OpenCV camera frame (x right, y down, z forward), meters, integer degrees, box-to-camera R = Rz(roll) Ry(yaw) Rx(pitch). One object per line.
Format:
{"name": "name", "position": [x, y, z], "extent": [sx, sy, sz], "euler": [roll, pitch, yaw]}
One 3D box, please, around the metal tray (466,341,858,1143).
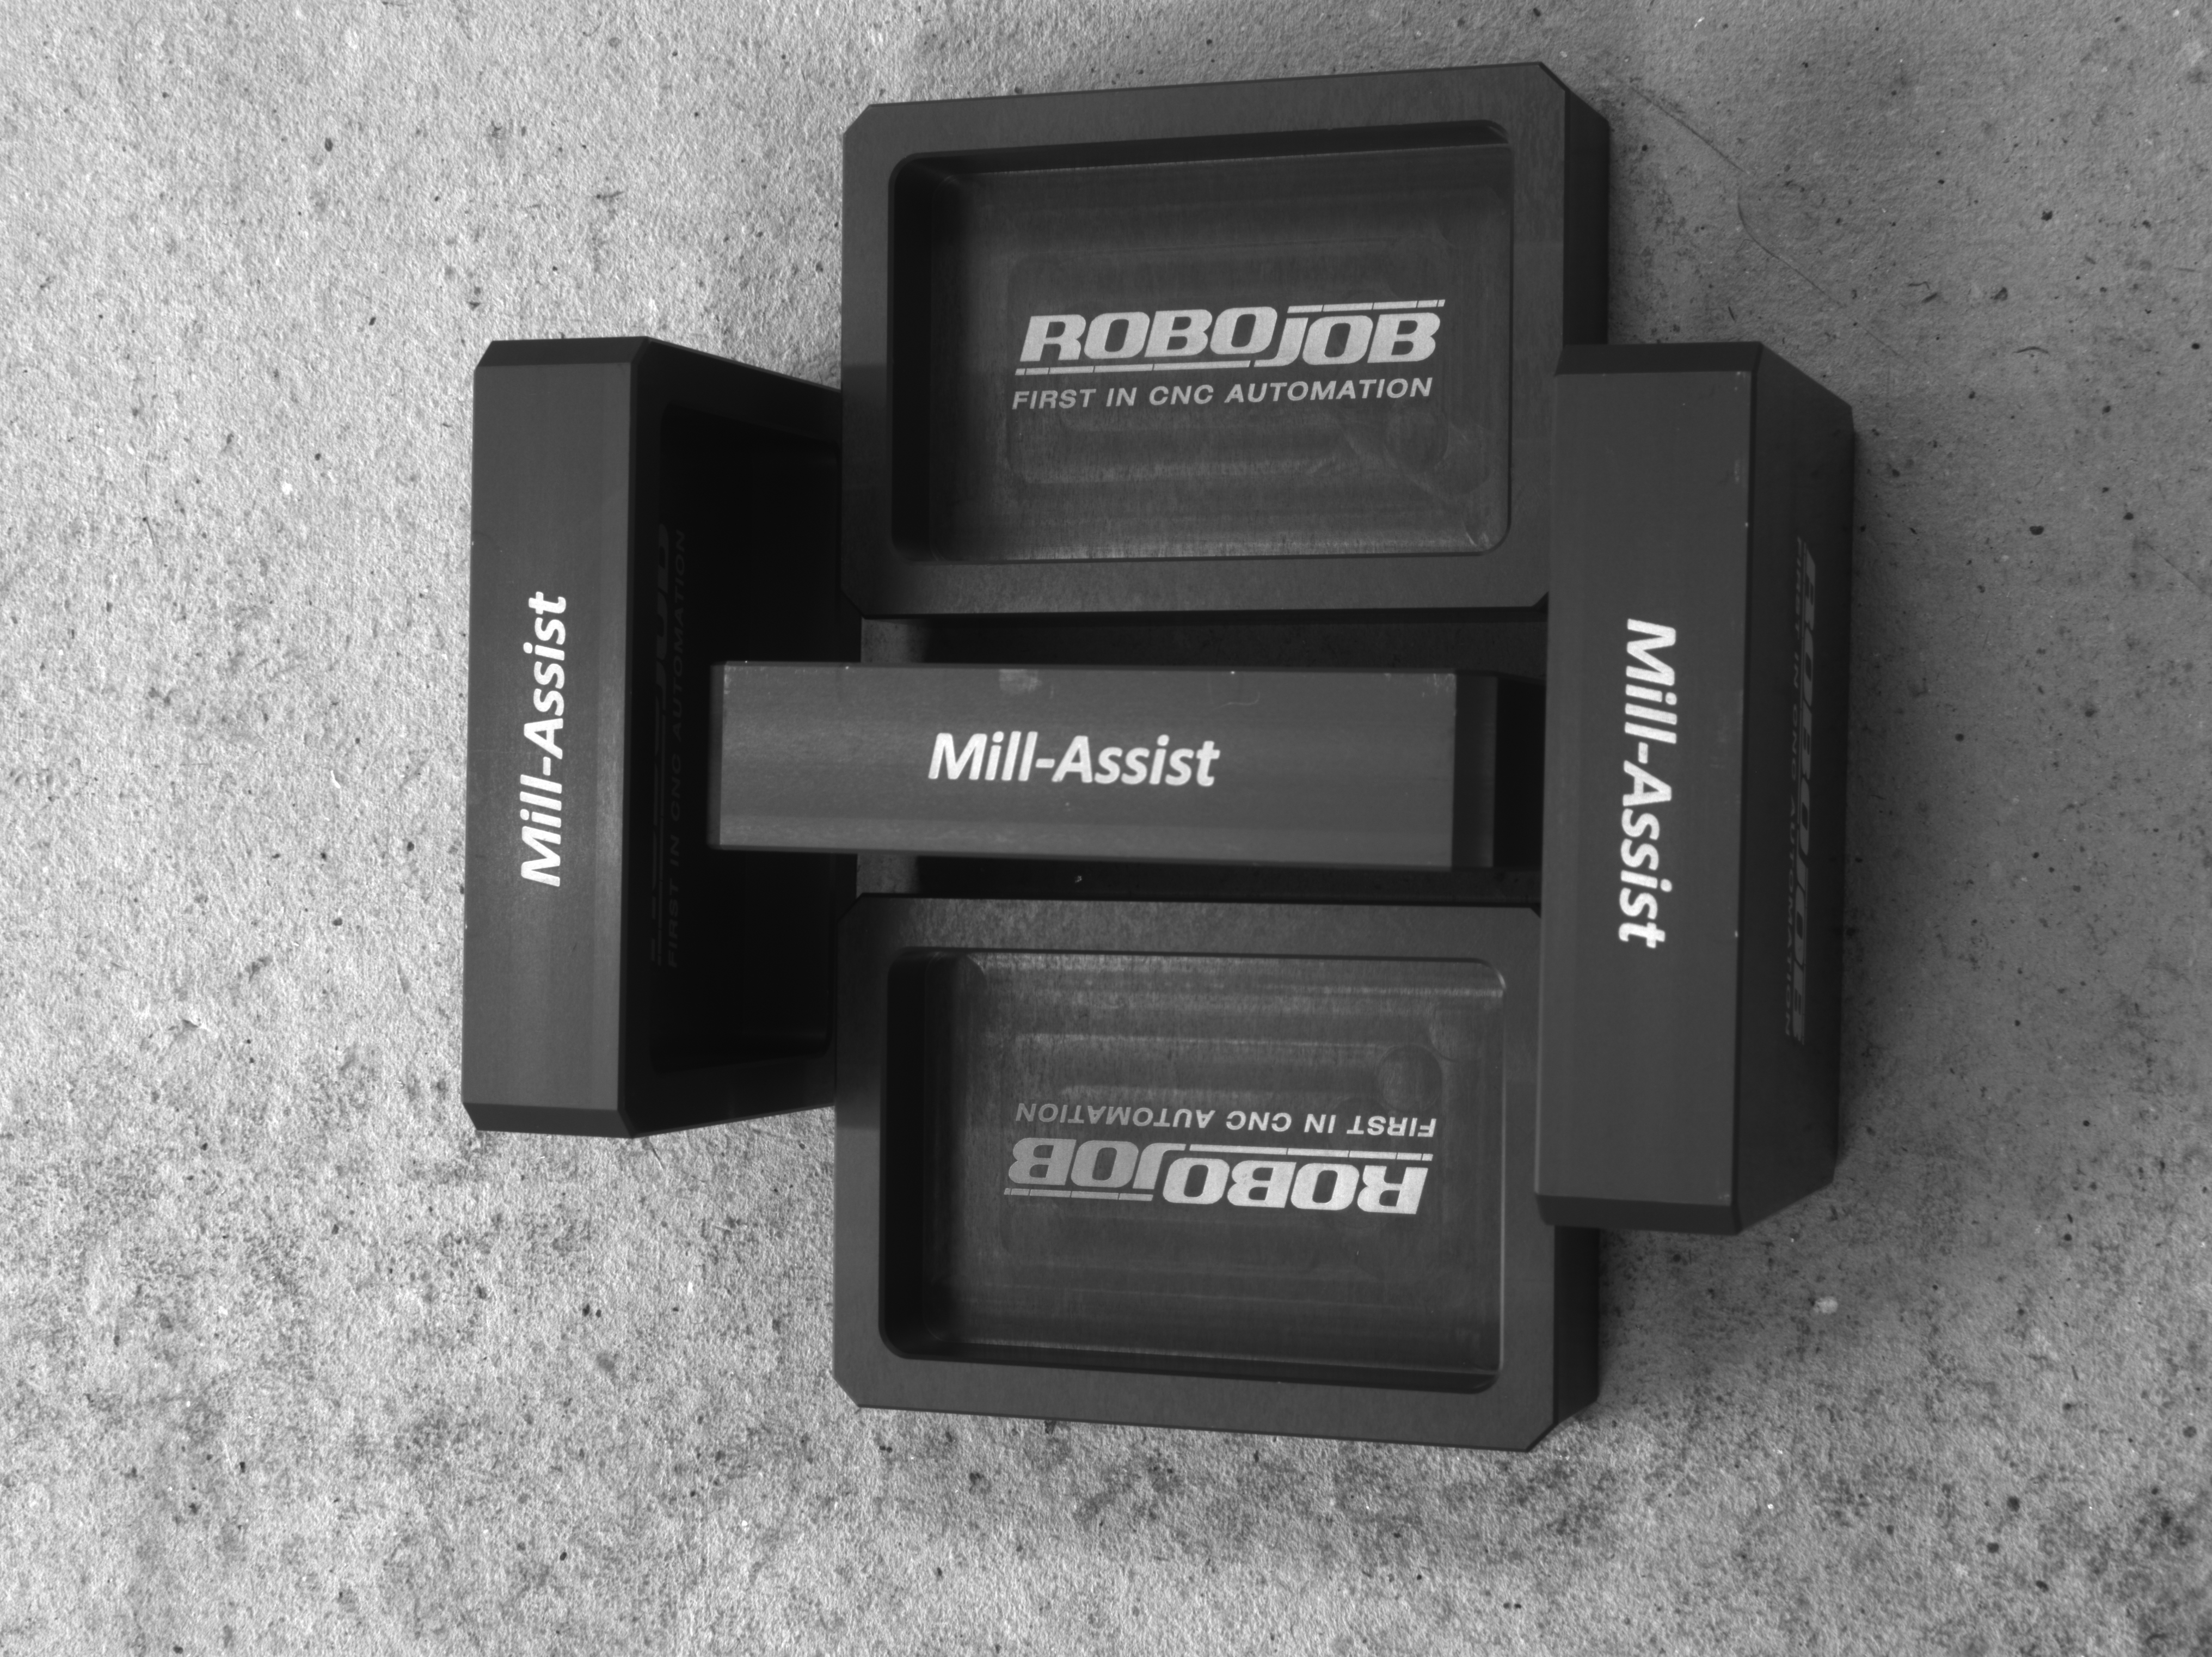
{"name": "metal tray", "position": [-0.075, -0.014, 0.640], "extent": [0.030, 0.090, 0.130], "euler": [1, 91, 20]}

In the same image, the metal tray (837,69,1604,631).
{"name": "metal tray", "position": [0.019, -0.080, 0.637], "extent": [0.130, 0.030, 0.090], "euler": [0, 93, 20]}

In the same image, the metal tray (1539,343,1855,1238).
{"name": "metal tray", "position": [0.094, -0.006, 0.578], "extent": [0.030, 0.090, 0.130], "euler": [1, 90, 20]}

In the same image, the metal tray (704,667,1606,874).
{"name": "metal tray", "position": [0.010, -0.010, 0.610], "extent": [0.130, 0.090, 0.030], "euler": [1, 91, 20]}

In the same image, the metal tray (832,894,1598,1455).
{"name": "metal tray", "position": [0.018, 0.057, 0.639], "extent": [0.130, 0.030, 0.090], "euler": [1, 89, 20]}
